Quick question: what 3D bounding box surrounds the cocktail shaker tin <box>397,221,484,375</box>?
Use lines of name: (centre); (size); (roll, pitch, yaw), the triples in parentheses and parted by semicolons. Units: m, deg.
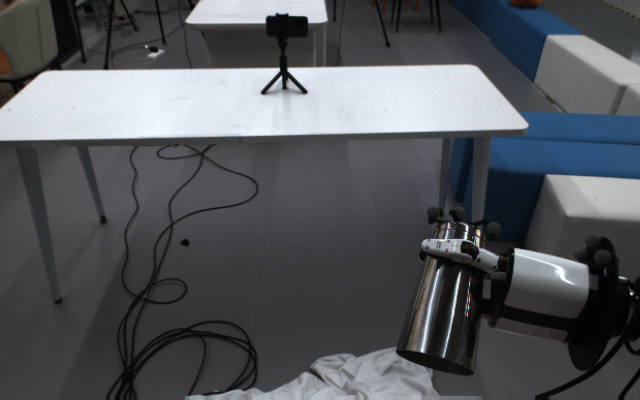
cocktail shaker tin: (0.160, 0.113, 0.598); (0.093, 0.093, 0.170); (13, 65, 15)
